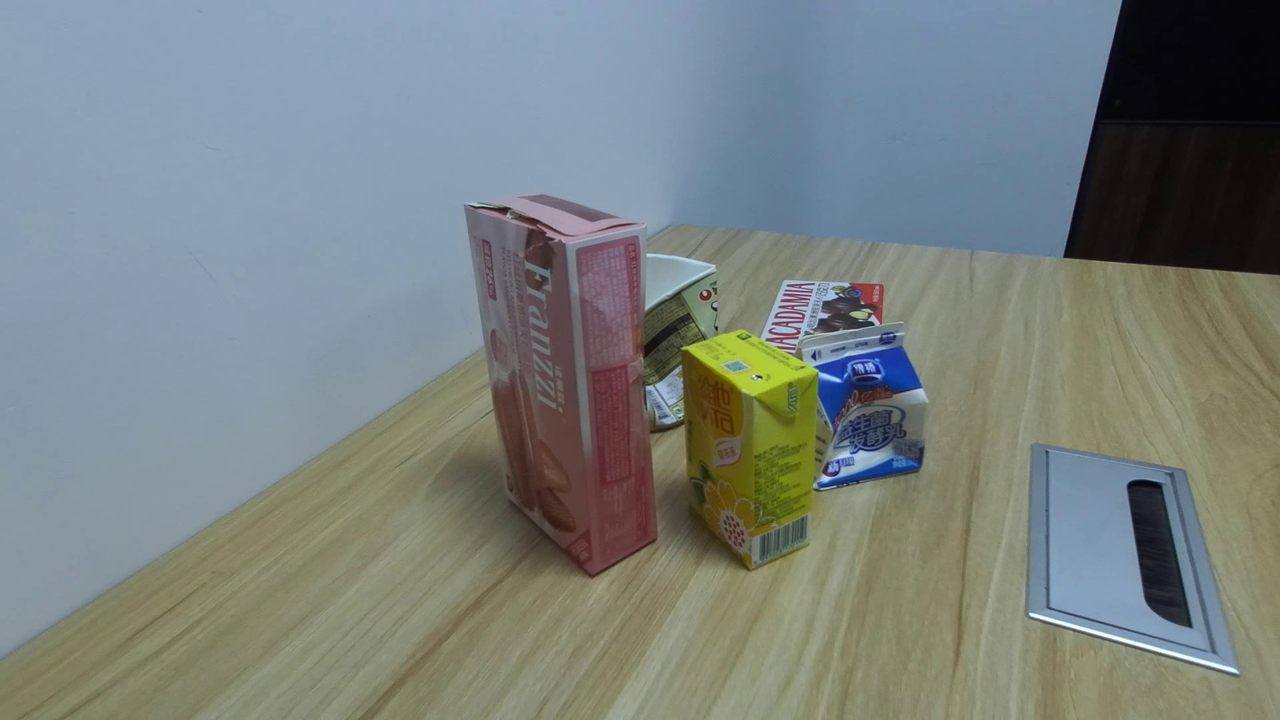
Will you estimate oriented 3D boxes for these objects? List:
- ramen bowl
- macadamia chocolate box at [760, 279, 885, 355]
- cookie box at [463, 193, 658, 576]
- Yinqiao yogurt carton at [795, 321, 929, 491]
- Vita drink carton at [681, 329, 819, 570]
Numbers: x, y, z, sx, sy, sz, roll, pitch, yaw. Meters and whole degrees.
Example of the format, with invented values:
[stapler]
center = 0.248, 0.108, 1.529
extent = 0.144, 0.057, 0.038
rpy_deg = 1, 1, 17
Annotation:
[ramen bowl]
center = -0.003, -0.019, 0.529
extent = 0.137, 0.098, 0.137
rpy_deg = 1, 24, 0
[macadamia chocolate box]
center = 0.156, -0.023, 0.604
extent = 0.095, 0.027, 0.178
rpy_deg = 7, 30, 18
[cookie box]
center = -0.037, 0.012, 0.379
extent = 0.049, 0.187, 0.104
rpy_deg = -20, 29, -32
[Yinqiao yogurt carton]
center = 0.130, 0.021, 0.442
extent = 0.077, 0.094, 0.071
rpy_deg = -10, 32, -10
[Vita drink carton]
center = 0.056, 0.047, 0.381
extent = 0.044, 0.109, 0.066
rpy_deg = -18, 30, -25
